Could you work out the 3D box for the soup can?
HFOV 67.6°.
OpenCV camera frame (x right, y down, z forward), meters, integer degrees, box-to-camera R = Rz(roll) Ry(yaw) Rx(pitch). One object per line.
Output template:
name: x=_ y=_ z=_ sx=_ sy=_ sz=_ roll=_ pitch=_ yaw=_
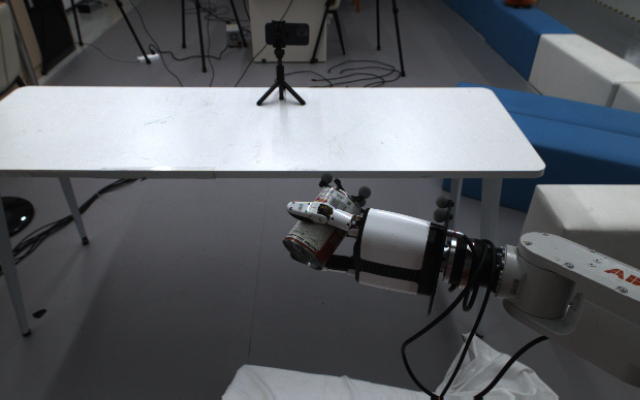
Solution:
soup can: x=0.004 y=0.038 z=0.683 sx=0.067 sy=0.067 sz=0.101 roll=25 pitch=67 yaw=30
